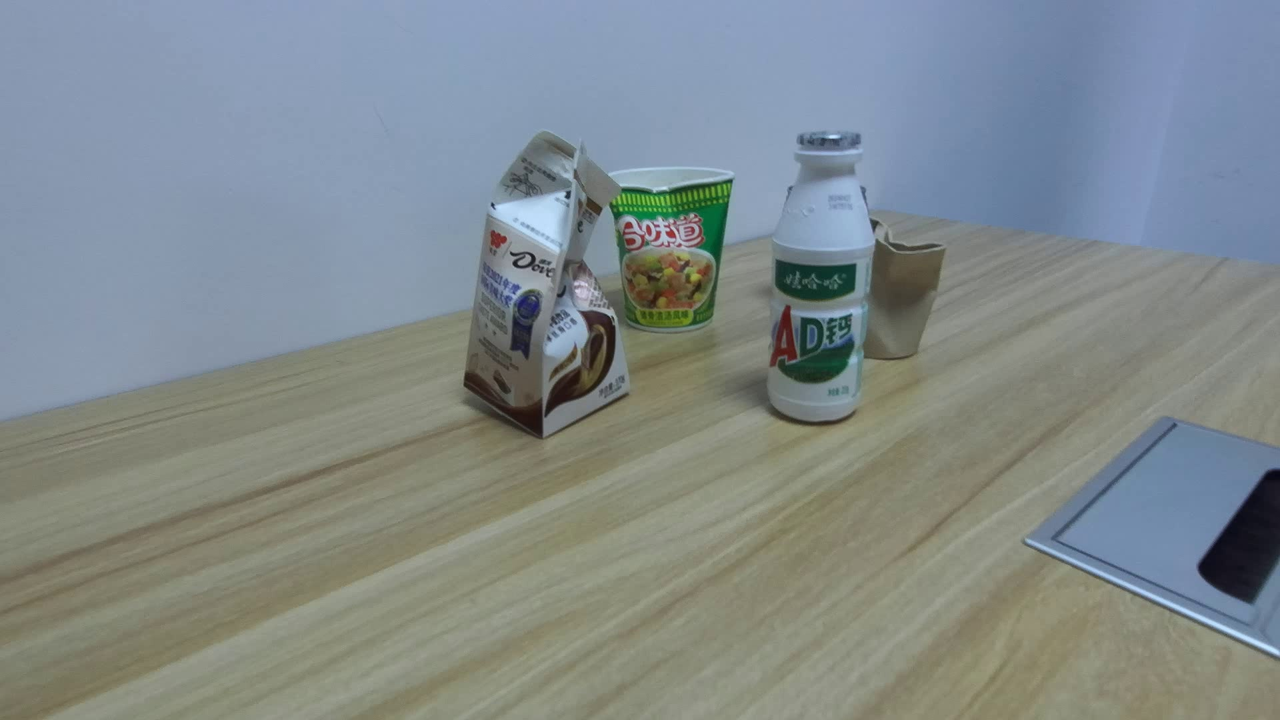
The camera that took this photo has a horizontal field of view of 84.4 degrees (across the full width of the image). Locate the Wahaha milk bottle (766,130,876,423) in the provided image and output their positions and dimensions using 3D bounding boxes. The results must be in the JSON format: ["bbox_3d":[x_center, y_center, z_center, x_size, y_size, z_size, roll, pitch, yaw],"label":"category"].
[{"bbox_3d":[0.095,-0.042,0.372,0.053,0.147,0.053,-2,21,1],"label":"Wahaha milk bottle"}]

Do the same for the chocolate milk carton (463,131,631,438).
[{"bbox_3d":[-0.047,-0.044,0.399,0.076,0.155,0.090,18,15,34],"label":"chocolate milk carton"}]

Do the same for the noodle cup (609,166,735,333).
[{"bbox_3d":[0.023,-0.085,0.535,0.093,0.109,0.087,2,21,9],"label":"noodle cup"}]

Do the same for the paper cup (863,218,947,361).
[{"bbox_3d":[0.165,-0.045,0.466,0.058,0.083,0.066,9,26,16],"label":"paper cup"}]
